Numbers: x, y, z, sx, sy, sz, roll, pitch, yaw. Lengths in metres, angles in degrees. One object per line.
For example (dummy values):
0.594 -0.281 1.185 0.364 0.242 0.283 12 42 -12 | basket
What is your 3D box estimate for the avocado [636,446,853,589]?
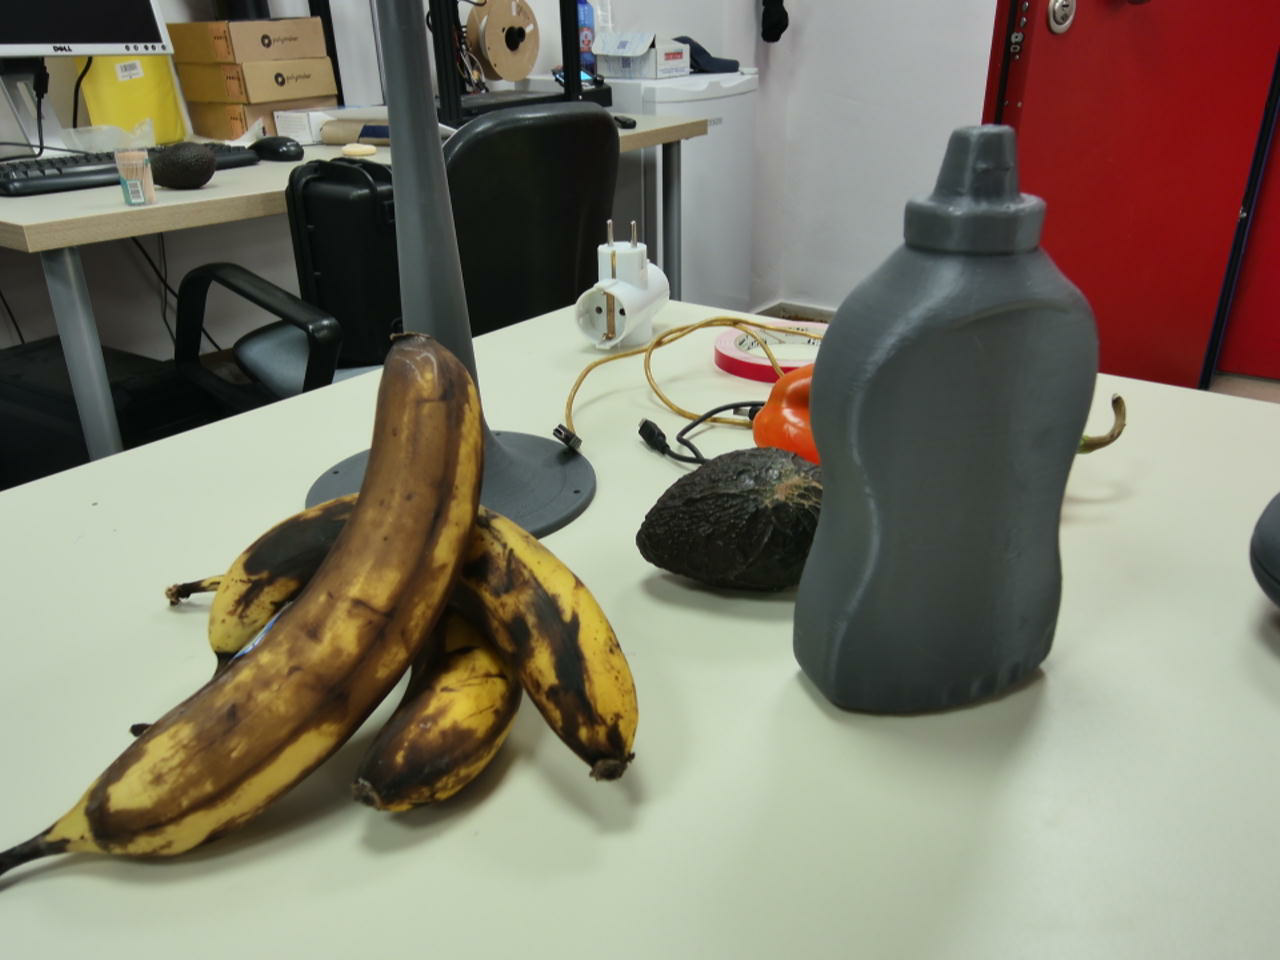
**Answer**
0.046 0.016 0.437 0.092 0.062 0.062 6 24 14 | avocado
